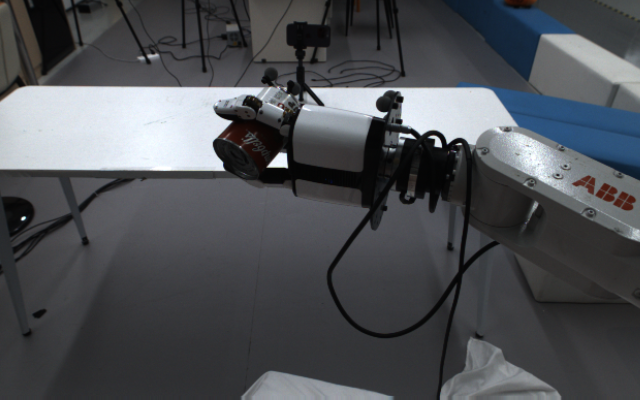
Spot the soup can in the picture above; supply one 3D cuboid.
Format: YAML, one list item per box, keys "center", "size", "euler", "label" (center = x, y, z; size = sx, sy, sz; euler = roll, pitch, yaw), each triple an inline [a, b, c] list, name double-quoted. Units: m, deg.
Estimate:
- center: [-0.071, -0.083, 0.590]
  size: [0.067, 0.067, 0.101]
  euler: [22, 61, 26]
  label: "soup can"
